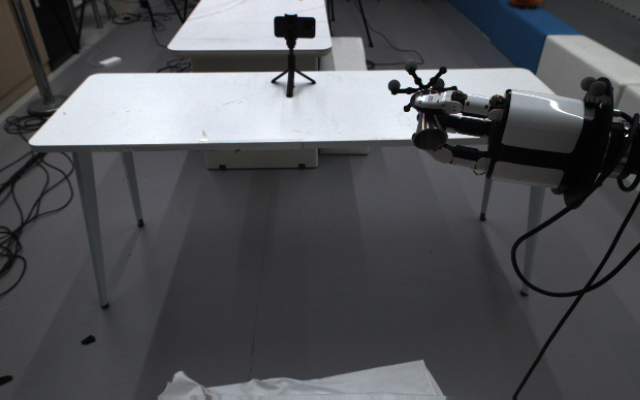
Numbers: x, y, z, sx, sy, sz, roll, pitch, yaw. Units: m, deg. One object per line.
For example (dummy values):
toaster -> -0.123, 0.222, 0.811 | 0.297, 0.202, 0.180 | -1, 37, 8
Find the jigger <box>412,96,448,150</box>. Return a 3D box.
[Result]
jigger -> 0.140, -0.109, 0.627 | 0.043, 0.043, 0.071 | 2, 59, -1
